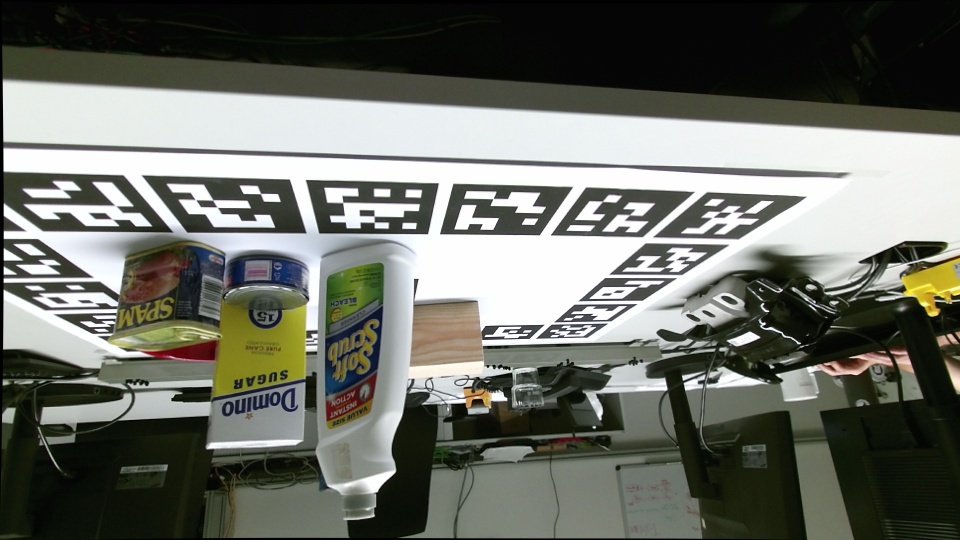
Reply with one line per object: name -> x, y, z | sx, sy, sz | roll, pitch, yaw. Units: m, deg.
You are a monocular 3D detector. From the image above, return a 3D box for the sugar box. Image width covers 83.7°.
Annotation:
sugar box -> -0.245, 0.104, 0.587 | 0.093, 0.175, 0.045 | 5, 154, -33

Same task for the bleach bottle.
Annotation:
bleach bottle -> -0.106, 0.100, 0.522 | 0.103, 0.249, 0.068 | -11, 158, 12

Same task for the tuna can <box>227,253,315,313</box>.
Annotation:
tuna can -> -0.218, 0.015, 0.563 | 0.086, 0.033, 0.086 | -6, 155, -3

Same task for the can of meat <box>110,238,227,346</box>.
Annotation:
can of meat -> -0.295, 0.022, 0.516 | 0.102, 0.083, 0.058 | -11, 160, 17

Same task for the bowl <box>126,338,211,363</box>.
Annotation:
bowl -> -0.344, 0.079, 0.669 | 0.162, 0.055, 0.162 | -8, 159, -3

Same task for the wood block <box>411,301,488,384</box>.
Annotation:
wood block -> -0.096, 0.107, 0.758 | 0.207, 0.089, 0.091 | -4, 153, -3
